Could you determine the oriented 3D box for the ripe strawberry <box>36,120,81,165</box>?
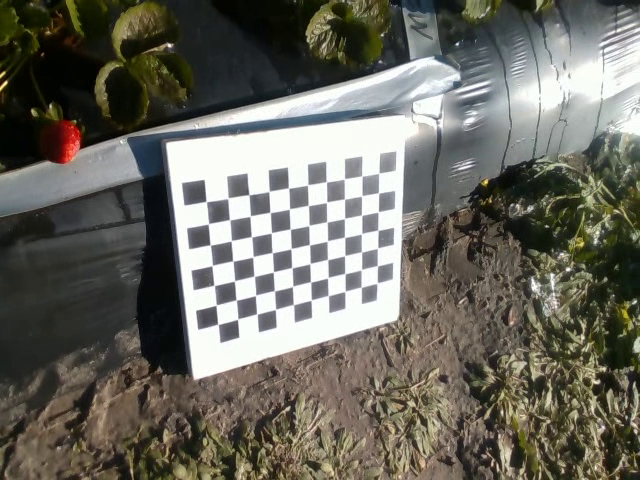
[{"bbox_3d":[-0.191,-0.068,0.467,0.036,0.038,0.046,-13,38,-23],"label":"ripe strawberry"}]
